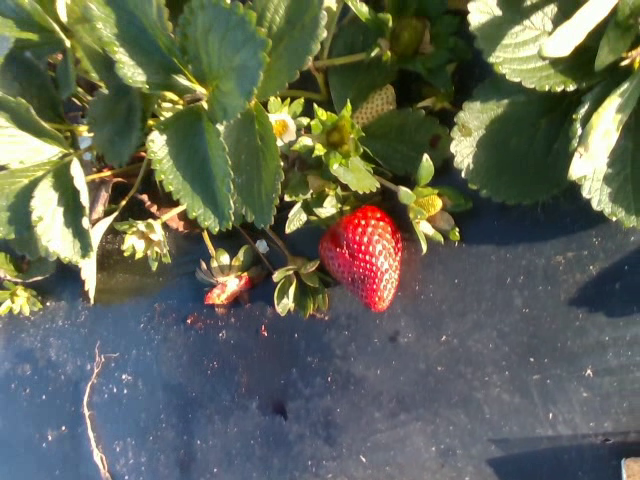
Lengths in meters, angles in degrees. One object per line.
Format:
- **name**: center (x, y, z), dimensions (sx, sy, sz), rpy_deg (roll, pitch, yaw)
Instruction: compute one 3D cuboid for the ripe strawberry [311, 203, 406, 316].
- **ripe strawberry**: center (0.022, 0.014, 0.298), dimensions (0.041, 0.052, 0.052), rpy_deg (17, -42, -38)
